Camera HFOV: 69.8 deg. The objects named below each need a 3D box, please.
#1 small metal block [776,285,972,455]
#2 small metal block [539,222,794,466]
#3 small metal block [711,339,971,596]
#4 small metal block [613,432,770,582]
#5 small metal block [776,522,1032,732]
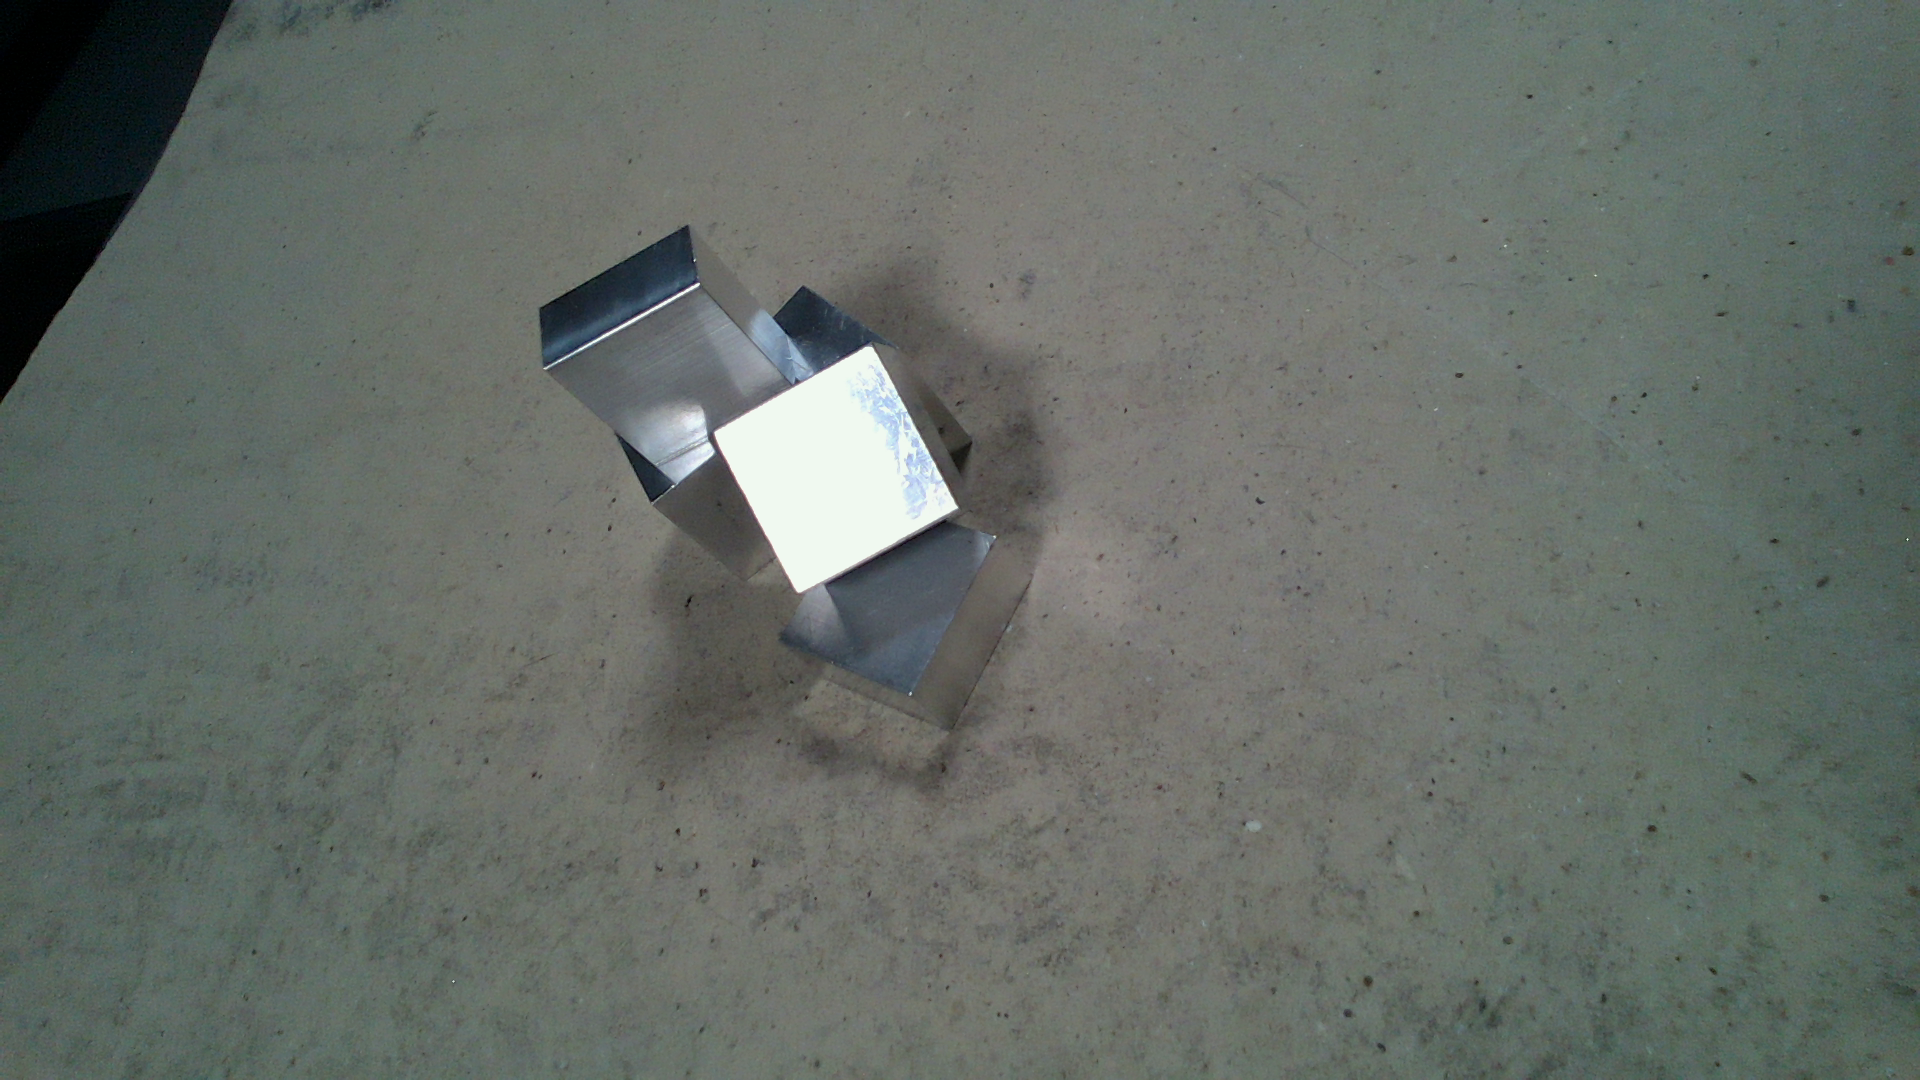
[{"bbox_3d":[-0.031,-0.045,0.423,0.025,0.050,0.050,-48,51,-6],"label":"small metal block"},{"bbox_3d":[-0.082,-0.054,0.391,0.050,0.050,0.025,-26,52,12],"label":"small metal block"},{"bbox_3d":[-0.031,-0.020,0.375,0.050,0.025,0.050,-28,89,11],"label":"small metal block"},{"bbox_3d":[-0.081,-0.022,0.436,0.025,0.050,0.050,-38,51,3],"label":"small metal block"},{"bbox_3d":[-0.016,0.020,0.390,0.050,0.025,0.050,17,71,35],"label":"small metal block"}]
